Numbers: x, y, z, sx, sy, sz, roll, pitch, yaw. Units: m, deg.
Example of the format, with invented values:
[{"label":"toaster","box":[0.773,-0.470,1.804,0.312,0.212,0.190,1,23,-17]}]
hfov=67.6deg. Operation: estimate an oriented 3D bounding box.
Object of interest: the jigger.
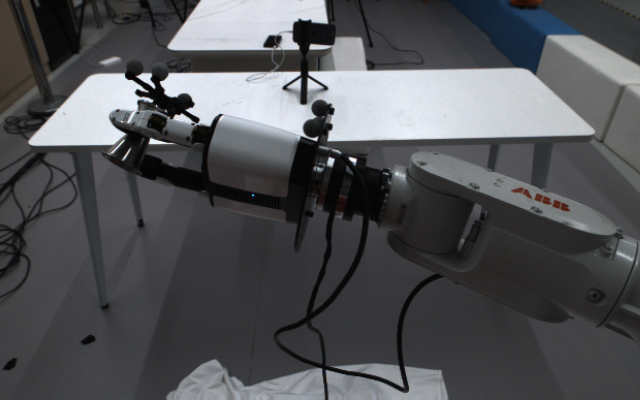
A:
[{"label":"jigger","box":[-0.190,-0.067,0.505,0.043,0.043,0.071,19,73,23]}]
